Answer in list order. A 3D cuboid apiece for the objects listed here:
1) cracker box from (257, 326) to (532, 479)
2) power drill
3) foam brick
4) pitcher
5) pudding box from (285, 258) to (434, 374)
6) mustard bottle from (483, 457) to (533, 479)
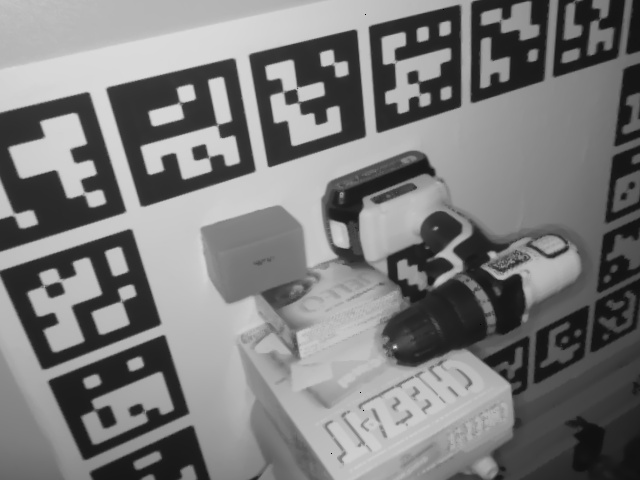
[{"bbox_3d":[0.061,0.132,0.621,0.166,0.212,0.071,-22,122,-21],"label":"cracker box"},{"bbox_3d":[0.114,0.020,0.582,0.187,0.186,0.057,-20,123,-18],"label":"power drill"},{"bbox_3d":[-0.036,0.017,0.622,0.079,0.051,0.052,-17,117,-21],"label":"foam brick"},{"bbox_3d":[0.035,0.238,0.647,0.191,0.241,0.132,-14,118,-24],"label":"pitcher"},{"bbox_3d":[0.038,0.067,0.645,0.115,0.089,0.038,-20,121,-23],"label":"pudding box"},{"bbox_3d":[0.150,0.192,0.702,0.097,0.190,0.058,-6,114,-25],"label":"mustard bottle"}]
